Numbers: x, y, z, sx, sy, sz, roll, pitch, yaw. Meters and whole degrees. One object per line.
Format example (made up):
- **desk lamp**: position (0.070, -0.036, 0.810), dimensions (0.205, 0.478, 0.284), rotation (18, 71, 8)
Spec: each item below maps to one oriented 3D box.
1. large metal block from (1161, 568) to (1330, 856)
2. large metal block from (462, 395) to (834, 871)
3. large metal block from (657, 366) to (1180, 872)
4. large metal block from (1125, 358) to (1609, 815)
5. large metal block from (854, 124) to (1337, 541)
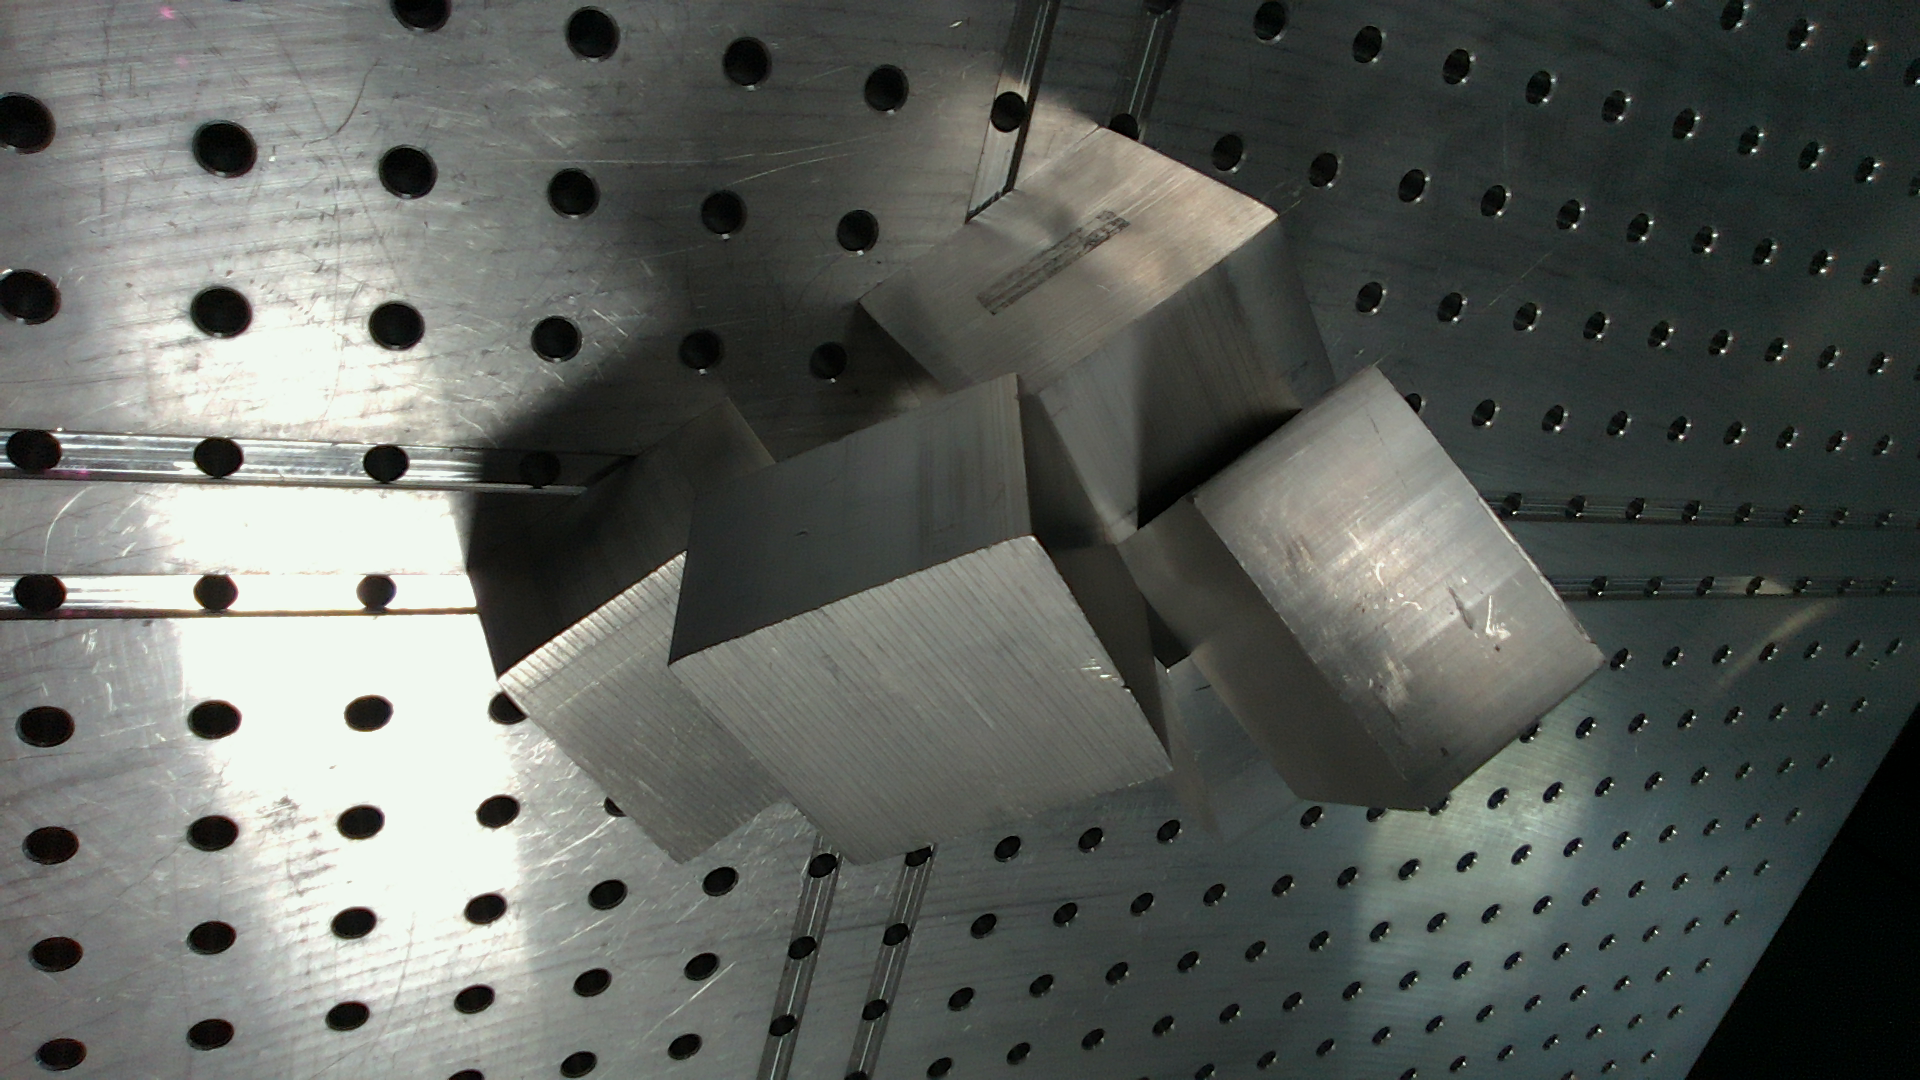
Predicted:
- **large metal block**: position (0.070, 0.032, 0.412), dimensions (0.050, 0.080, 0.080), rotation (-30, 128, -9)
- **large metal block**: position (-0.066, 0.024, 0.355), dimensions (0.080, 0.050, 0.080), rotation (-34, 129, -6)
- **large metal block**: position (-0.006, 0.021, 0.301), dimensions (0.080, 0.050, 0.080), rotation (-20, 131, 16)
- **large metal block**: position (0.086, 0.014, 0.321), dimensions (0.050, 0.080, 0.080), rotation (-36, 87, -10)
- **large metal block**: position (0.032, -0.050, 0.342), dimensions (0.080, 0.080, 0.050), rotation (-36, 129, -4)
